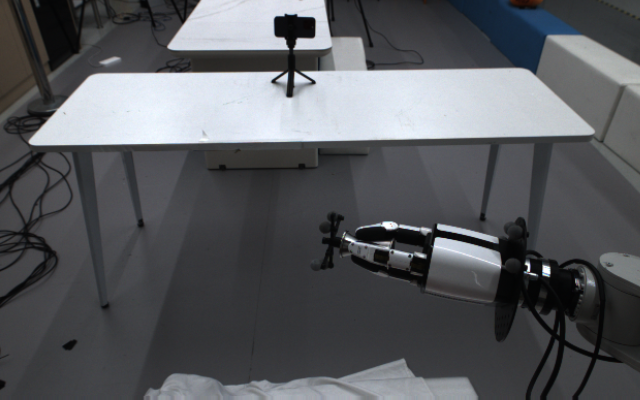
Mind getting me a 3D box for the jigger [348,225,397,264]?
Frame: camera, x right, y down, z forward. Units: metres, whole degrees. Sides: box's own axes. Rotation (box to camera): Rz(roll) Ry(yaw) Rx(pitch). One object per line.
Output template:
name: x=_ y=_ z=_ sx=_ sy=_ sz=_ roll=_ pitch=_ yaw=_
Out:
jigger: x=0.071 y=0.063 z=0.660 sx=0.071 sy=0.043 sz=0.043 roll=10 pitch=35 yaw=16
